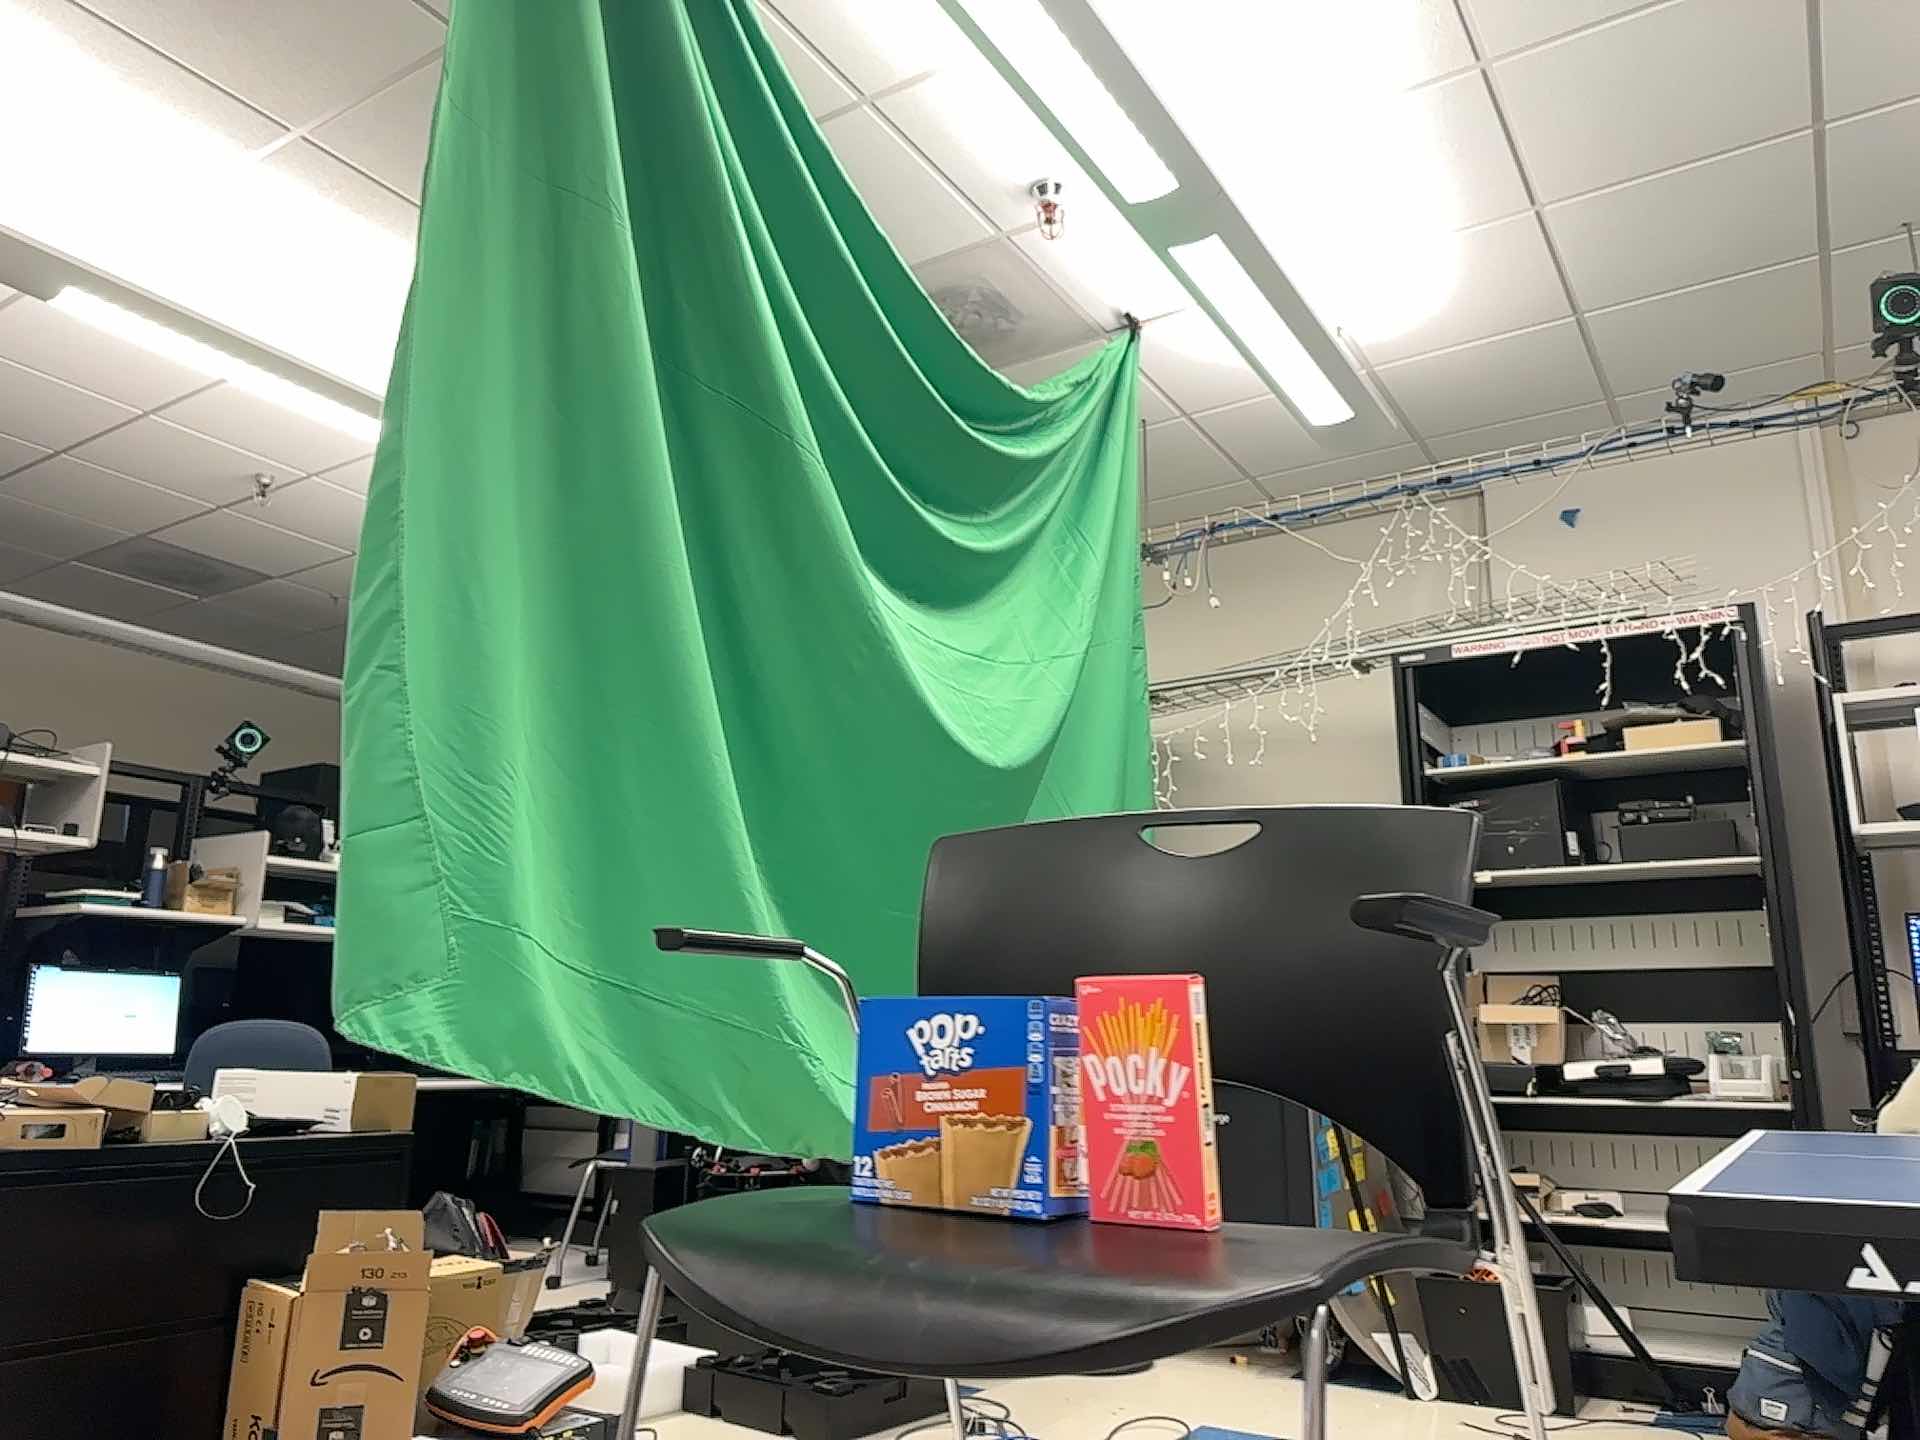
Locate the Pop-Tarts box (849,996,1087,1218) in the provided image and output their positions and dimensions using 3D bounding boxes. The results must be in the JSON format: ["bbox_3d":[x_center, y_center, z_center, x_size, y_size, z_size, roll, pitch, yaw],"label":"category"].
[{"bbox_3d":[0.012,0.267,0.951,0.161,0.135,0.075,-7,-15,32],"label":"Pop-Tarts box"}]

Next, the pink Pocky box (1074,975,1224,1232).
[{"bbox_3d":[0.119,0.241,0.858,0.084,0.155,0.029,-6,-9,28],"label":"pink Pocky box"}]
